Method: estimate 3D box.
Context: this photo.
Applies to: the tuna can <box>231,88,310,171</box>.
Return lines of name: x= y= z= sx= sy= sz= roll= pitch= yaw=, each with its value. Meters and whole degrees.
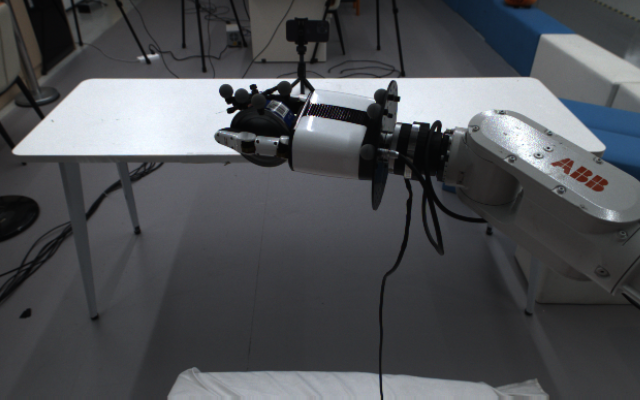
tuna can: x=-0.068 y=-0.087 z=0.625 sx=0.085 sy=0.085 sz=0.034 roll=11 pitch=38 yaw=13
